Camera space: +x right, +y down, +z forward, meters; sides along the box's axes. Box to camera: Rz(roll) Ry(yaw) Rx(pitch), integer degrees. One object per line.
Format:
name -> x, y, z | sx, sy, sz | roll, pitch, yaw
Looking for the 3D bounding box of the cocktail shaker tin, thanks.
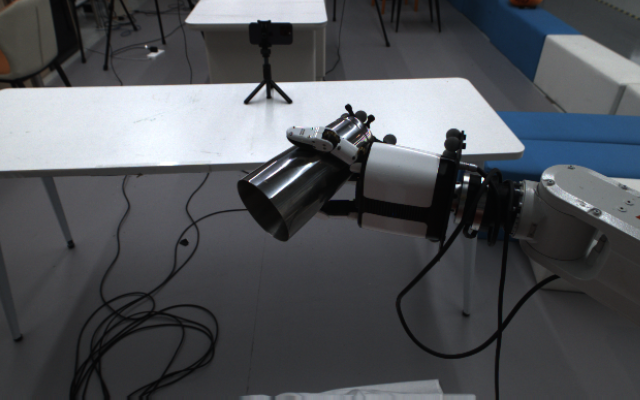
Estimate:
cocktail shaker tin -> -0.009, -0.041, 0.611 | 0.170, 0.093, 0.093 | -38, 50, -24
